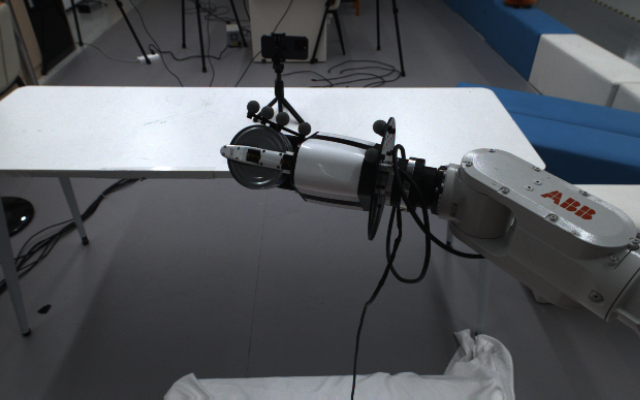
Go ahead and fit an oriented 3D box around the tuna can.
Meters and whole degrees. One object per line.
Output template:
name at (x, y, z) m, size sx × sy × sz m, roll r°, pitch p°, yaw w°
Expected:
tuna can at (-0.077, -0.057, 0.651) m, size 0.085 × 0.085 × 0.034 m, roll 13°, pitch 3°, yaw 16°
